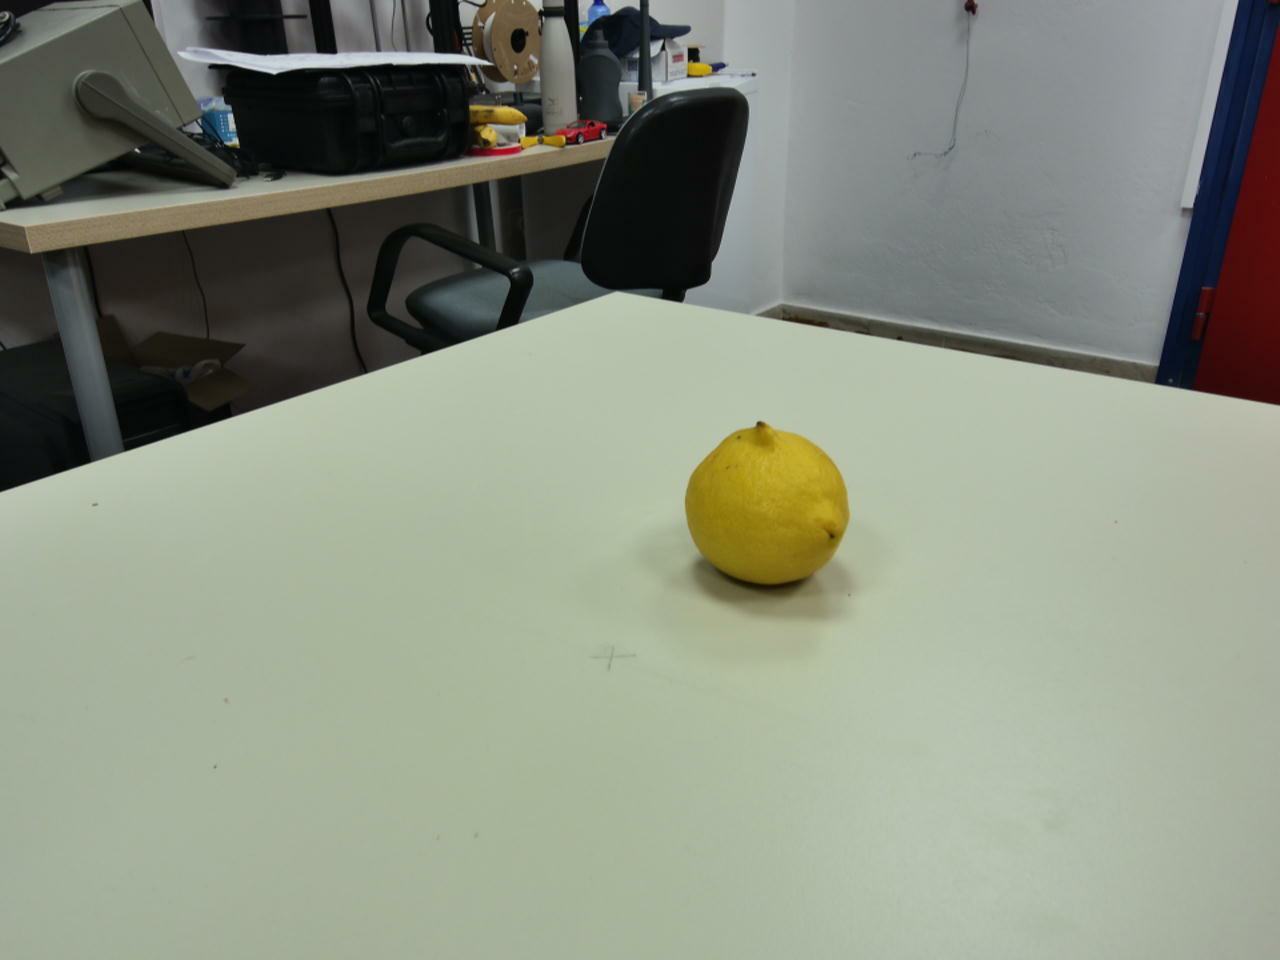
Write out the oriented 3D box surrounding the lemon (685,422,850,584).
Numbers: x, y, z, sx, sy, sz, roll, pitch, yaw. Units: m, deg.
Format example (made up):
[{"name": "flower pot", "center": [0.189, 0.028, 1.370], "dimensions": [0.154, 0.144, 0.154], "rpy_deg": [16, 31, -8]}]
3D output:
[{"name": "lemon", "center": [0.055, 0.008, 0.435], "dimensions": [0.070, 0.071, 0.071], "rpy_deg": [2, 23, 4]}]
